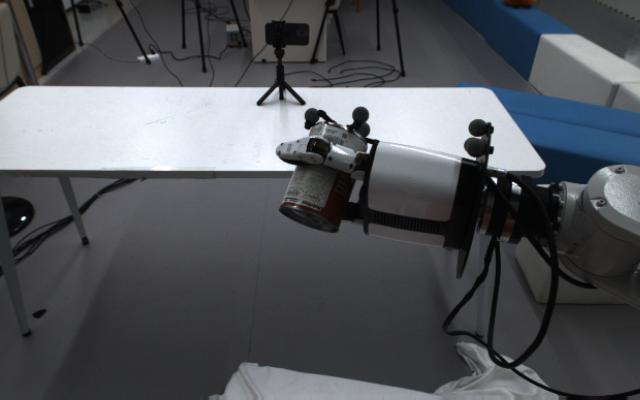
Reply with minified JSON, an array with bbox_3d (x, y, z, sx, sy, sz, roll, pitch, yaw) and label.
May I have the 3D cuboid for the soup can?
[{"bbox_3d":[0.005,-0.026,0.523,0.067,0.067,0.101,16,75,19],"label":"soup can"}]
